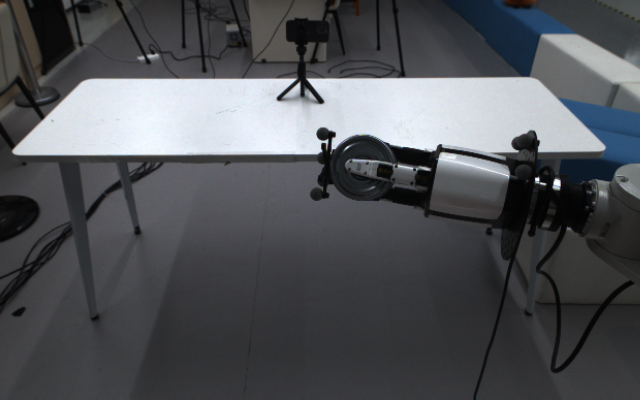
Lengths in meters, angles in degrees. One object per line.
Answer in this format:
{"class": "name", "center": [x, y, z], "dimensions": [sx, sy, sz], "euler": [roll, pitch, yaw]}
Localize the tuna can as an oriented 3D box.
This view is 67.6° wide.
{"class": "tuna can", "center": [0.060, -0.039, 0.623], "dimensions": [0.085, 0.085, 0.034], "euler": [10, 2, 11]}
